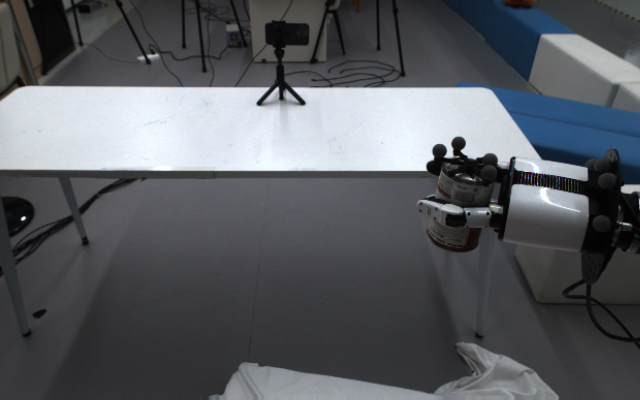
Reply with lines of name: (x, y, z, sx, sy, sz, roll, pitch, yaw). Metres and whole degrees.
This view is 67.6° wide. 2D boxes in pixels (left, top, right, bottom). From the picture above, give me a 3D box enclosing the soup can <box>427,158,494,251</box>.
soup can: (0.179, 0.005, 0.614, 0.067, 0.101, 0.067, 3, 30, -2)
